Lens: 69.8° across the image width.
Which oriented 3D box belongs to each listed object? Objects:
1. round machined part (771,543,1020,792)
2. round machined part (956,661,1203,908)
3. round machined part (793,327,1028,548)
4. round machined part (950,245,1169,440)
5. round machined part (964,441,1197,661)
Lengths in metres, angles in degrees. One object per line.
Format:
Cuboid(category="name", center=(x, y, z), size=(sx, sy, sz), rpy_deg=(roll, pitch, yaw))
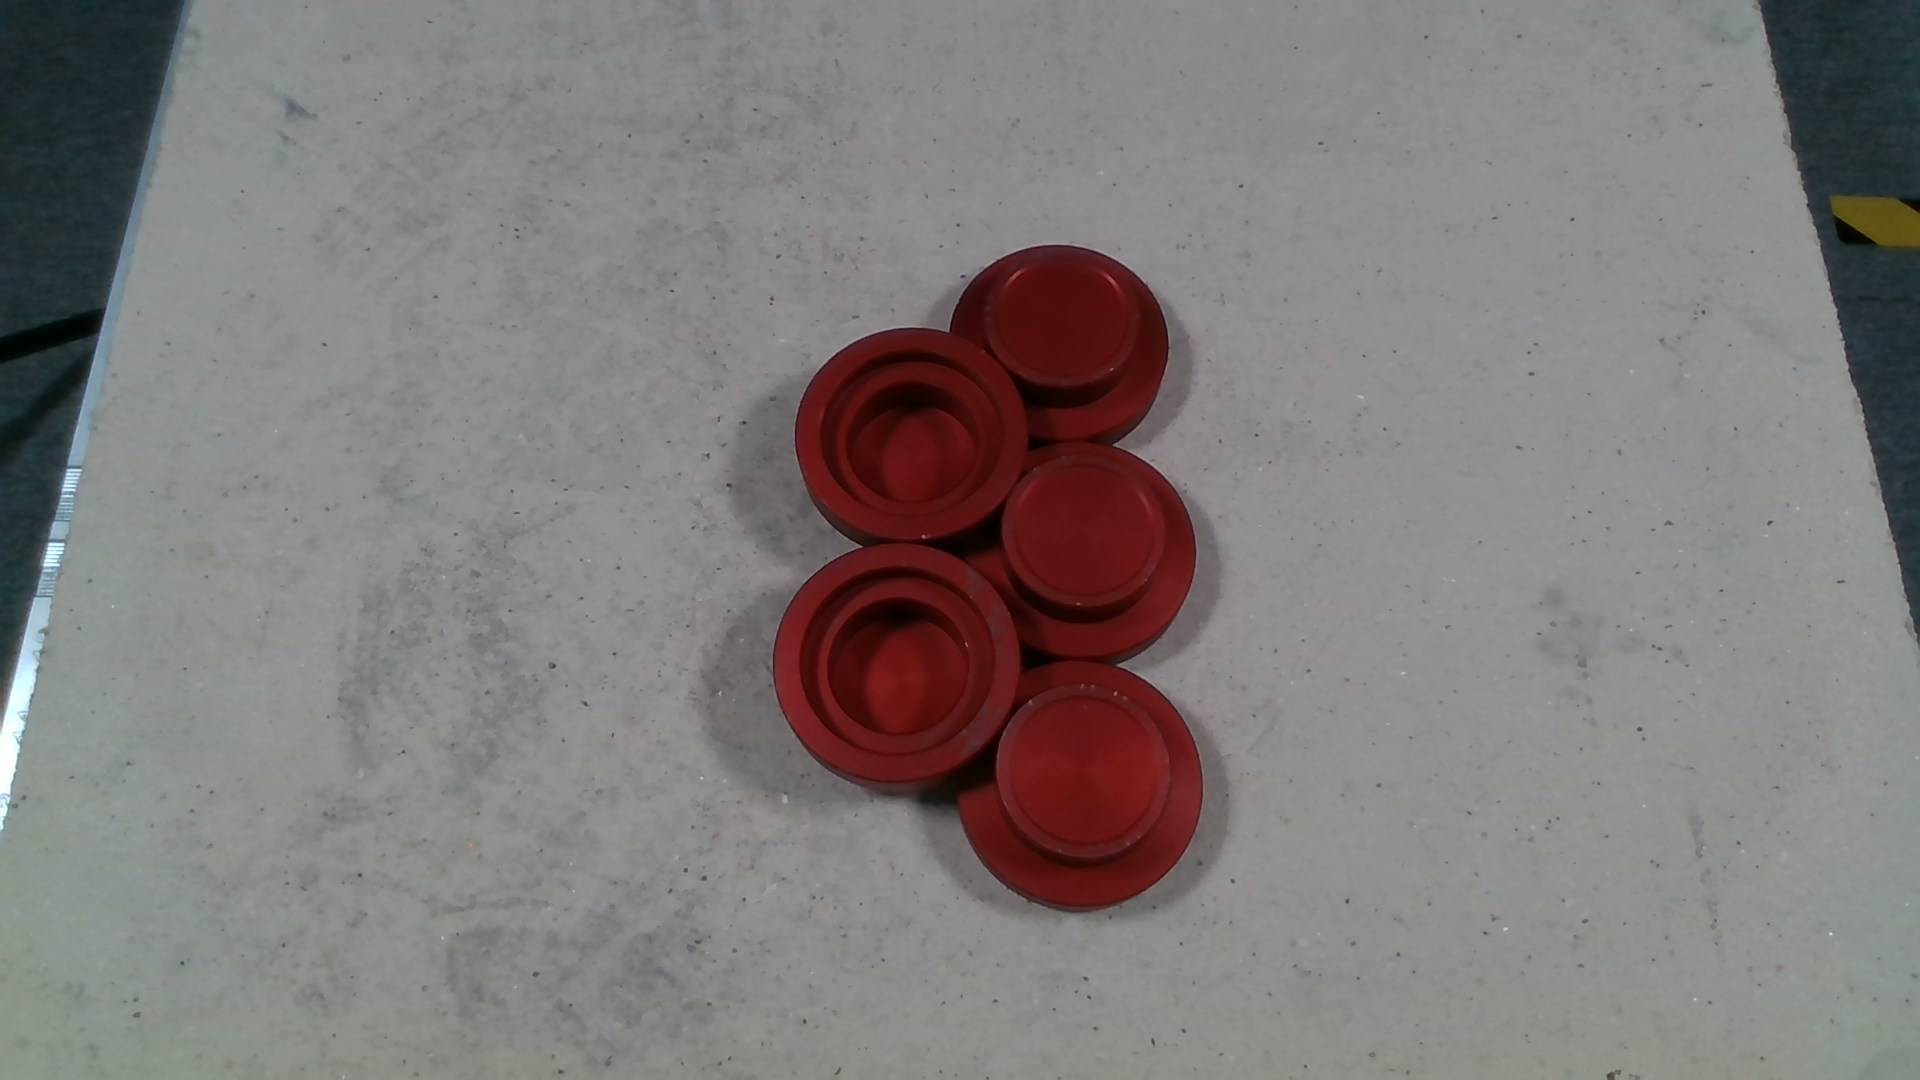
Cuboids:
Cuboid(category="round machined part", center=(-0.025, 0.054, 0.560), size=(0.098, 0.042, 0.098), rpy_deg=(0, 70, 0))
Cuboid(category="round machined part", center=(0.047, 0.095, 0.545), size=(0.098, 0.042, 0.098), rpy_deg=(0, 70, 0))
Cuboid(category="round machined part", center=(-0.021, -0.039, 0.593), size=(0.098, 0.042, 0.098), rpy_deg=(0, 70, 0))
Cuboid(category="round machined part", center=(0.044, -0.090, 0.612), size=(0.098, 0.042, 0.098), rpy_deg=(0, 70, 0))
Cuboid(category="round machined part", center=(0.051, 0.003, 0.578), size=(0.098, 0.042, 0.098), rpy_deg=(0, 70, 0))
